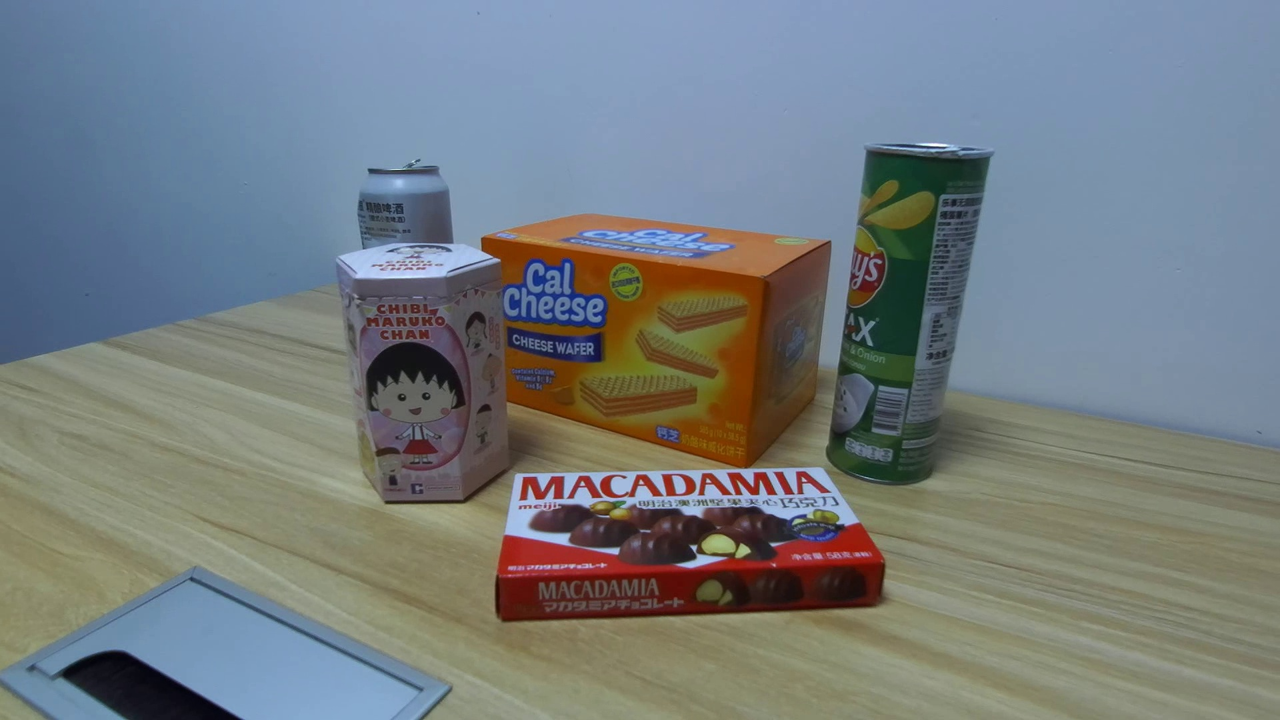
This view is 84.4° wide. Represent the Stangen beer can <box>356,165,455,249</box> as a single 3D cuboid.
[{"bbox_3d":[-0.188,-0.074,0.579,0.070,0.173,0.070,8,17,14],"label":"Stangen beer can"}]

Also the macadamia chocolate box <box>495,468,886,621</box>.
[{"bbox_3d":[0.022,0.090,0.362,0.178,0.027,0.095,-1,19,-4],"label":"macadamia chocolate box"}]

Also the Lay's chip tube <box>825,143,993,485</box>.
[{"bbox_3d":[0.162,-0.028,0.434,0.071,0.202,0.071,1,19,0],"label":"Lay's chip tube"}]

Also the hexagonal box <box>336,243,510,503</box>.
[{"bbox_3d":[-0.125,0.007,0.417,0.091,0.136,0.083,0,20,-4],"label":"hexagonal box"}]

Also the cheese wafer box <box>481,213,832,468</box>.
[{"bbox_3d":[0.013,-0.028,0.538,0.221,0.129,0.149,13,23,28],"label":"cheese wafer box"}]
